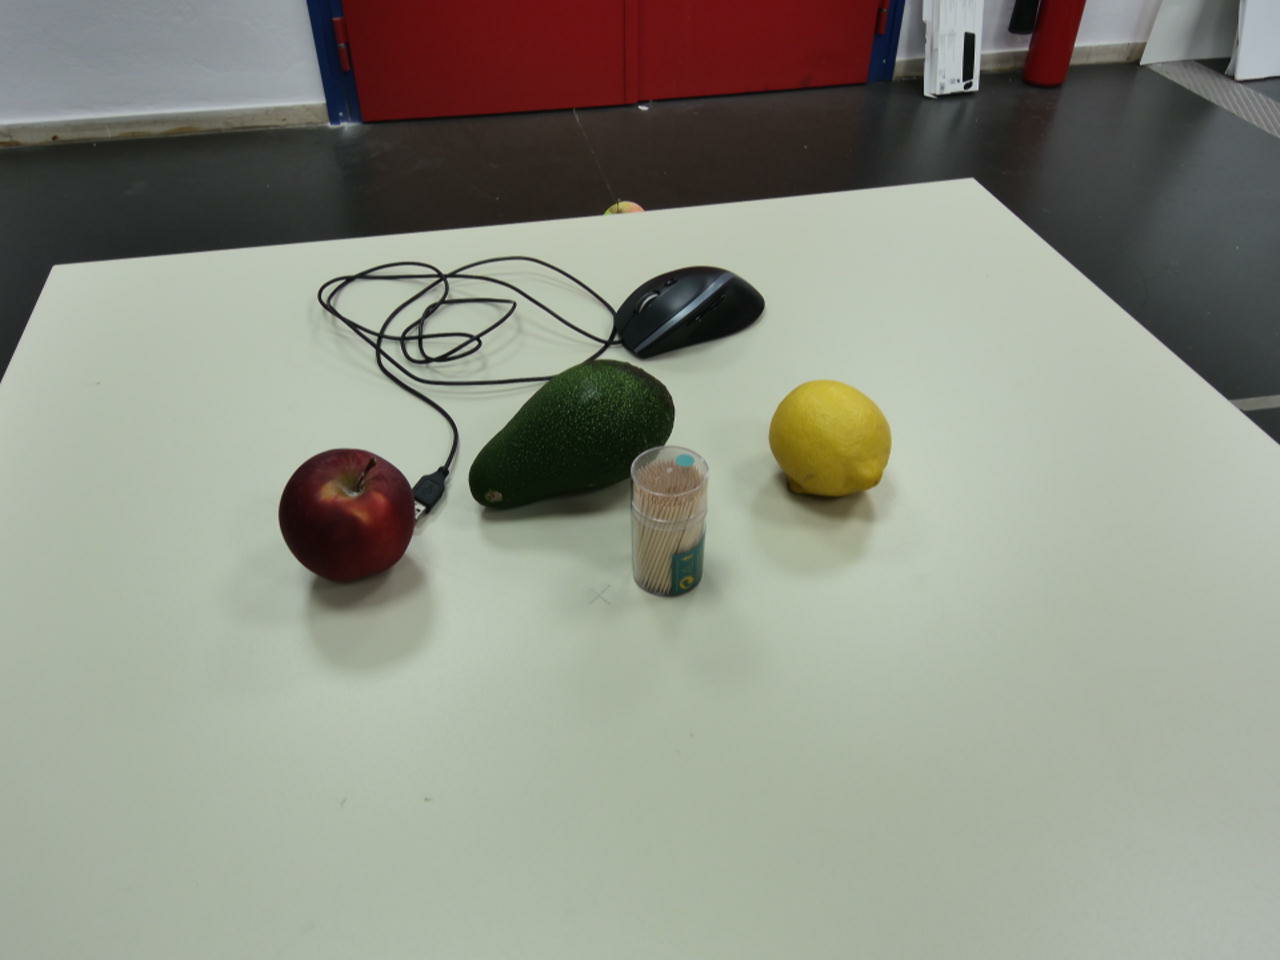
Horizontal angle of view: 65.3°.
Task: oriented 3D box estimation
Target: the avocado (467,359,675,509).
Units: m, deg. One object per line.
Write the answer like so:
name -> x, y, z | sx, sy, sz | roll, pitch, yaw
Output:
avocado -> -0.040, -0.032, 0.586 | 0.123, 0.076, 0.074 | -3, 39, -5
